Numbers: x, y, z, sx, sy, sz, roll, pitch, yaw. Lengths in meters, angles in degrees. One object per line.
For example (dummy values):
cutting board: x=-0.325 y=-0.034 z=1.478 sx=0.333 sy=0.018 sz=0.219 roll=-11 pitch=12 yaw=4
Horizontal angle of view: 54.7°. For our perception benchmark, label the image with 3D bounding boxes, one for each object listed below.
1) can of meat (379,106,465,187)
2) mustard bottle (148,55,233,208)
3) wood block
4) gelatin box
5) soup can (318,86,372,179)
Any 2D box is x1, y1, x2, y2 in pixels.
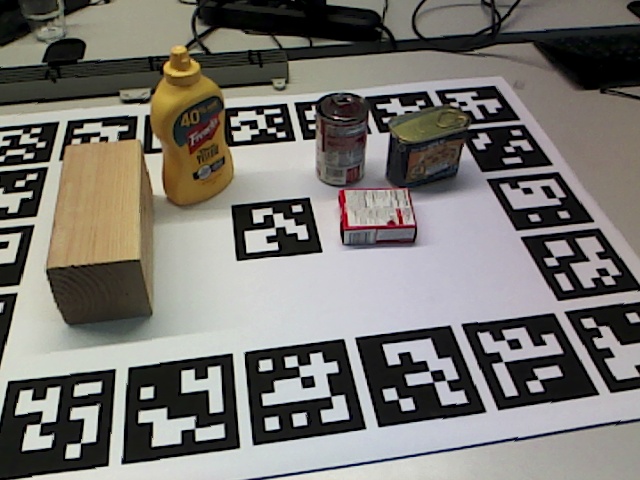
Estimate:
can of meat: x=0.131 y=-0.120 z=0.814 sx=0.101 sy=0.083 sz=0.058 roll=-15 pitch=47 yaw=-19
mustard bottle: x=-0.159 y=-0.134 z=0.755 sx=0.096 sy=0.191 sz=0.059 roll=-25 pitch=49 yaw=-26
wood block: x=-0.237 y=-0.017 z=0.699 sx=0.091 sy=0.089 sz=0.207 roll=-5 pitch=40 yaw=-8
gelatin box: x=0.071 y=-0.031 z=0.752 sx=0.089 sy=0.030 sz=0.073 roll=-1 pitch=46 yaw=2
soup can: x=0.031 y=-0.138 z=0.805 sx=0.068 sy=0.102 sz=0.068 roll=0 pitch=45 yaw=0
